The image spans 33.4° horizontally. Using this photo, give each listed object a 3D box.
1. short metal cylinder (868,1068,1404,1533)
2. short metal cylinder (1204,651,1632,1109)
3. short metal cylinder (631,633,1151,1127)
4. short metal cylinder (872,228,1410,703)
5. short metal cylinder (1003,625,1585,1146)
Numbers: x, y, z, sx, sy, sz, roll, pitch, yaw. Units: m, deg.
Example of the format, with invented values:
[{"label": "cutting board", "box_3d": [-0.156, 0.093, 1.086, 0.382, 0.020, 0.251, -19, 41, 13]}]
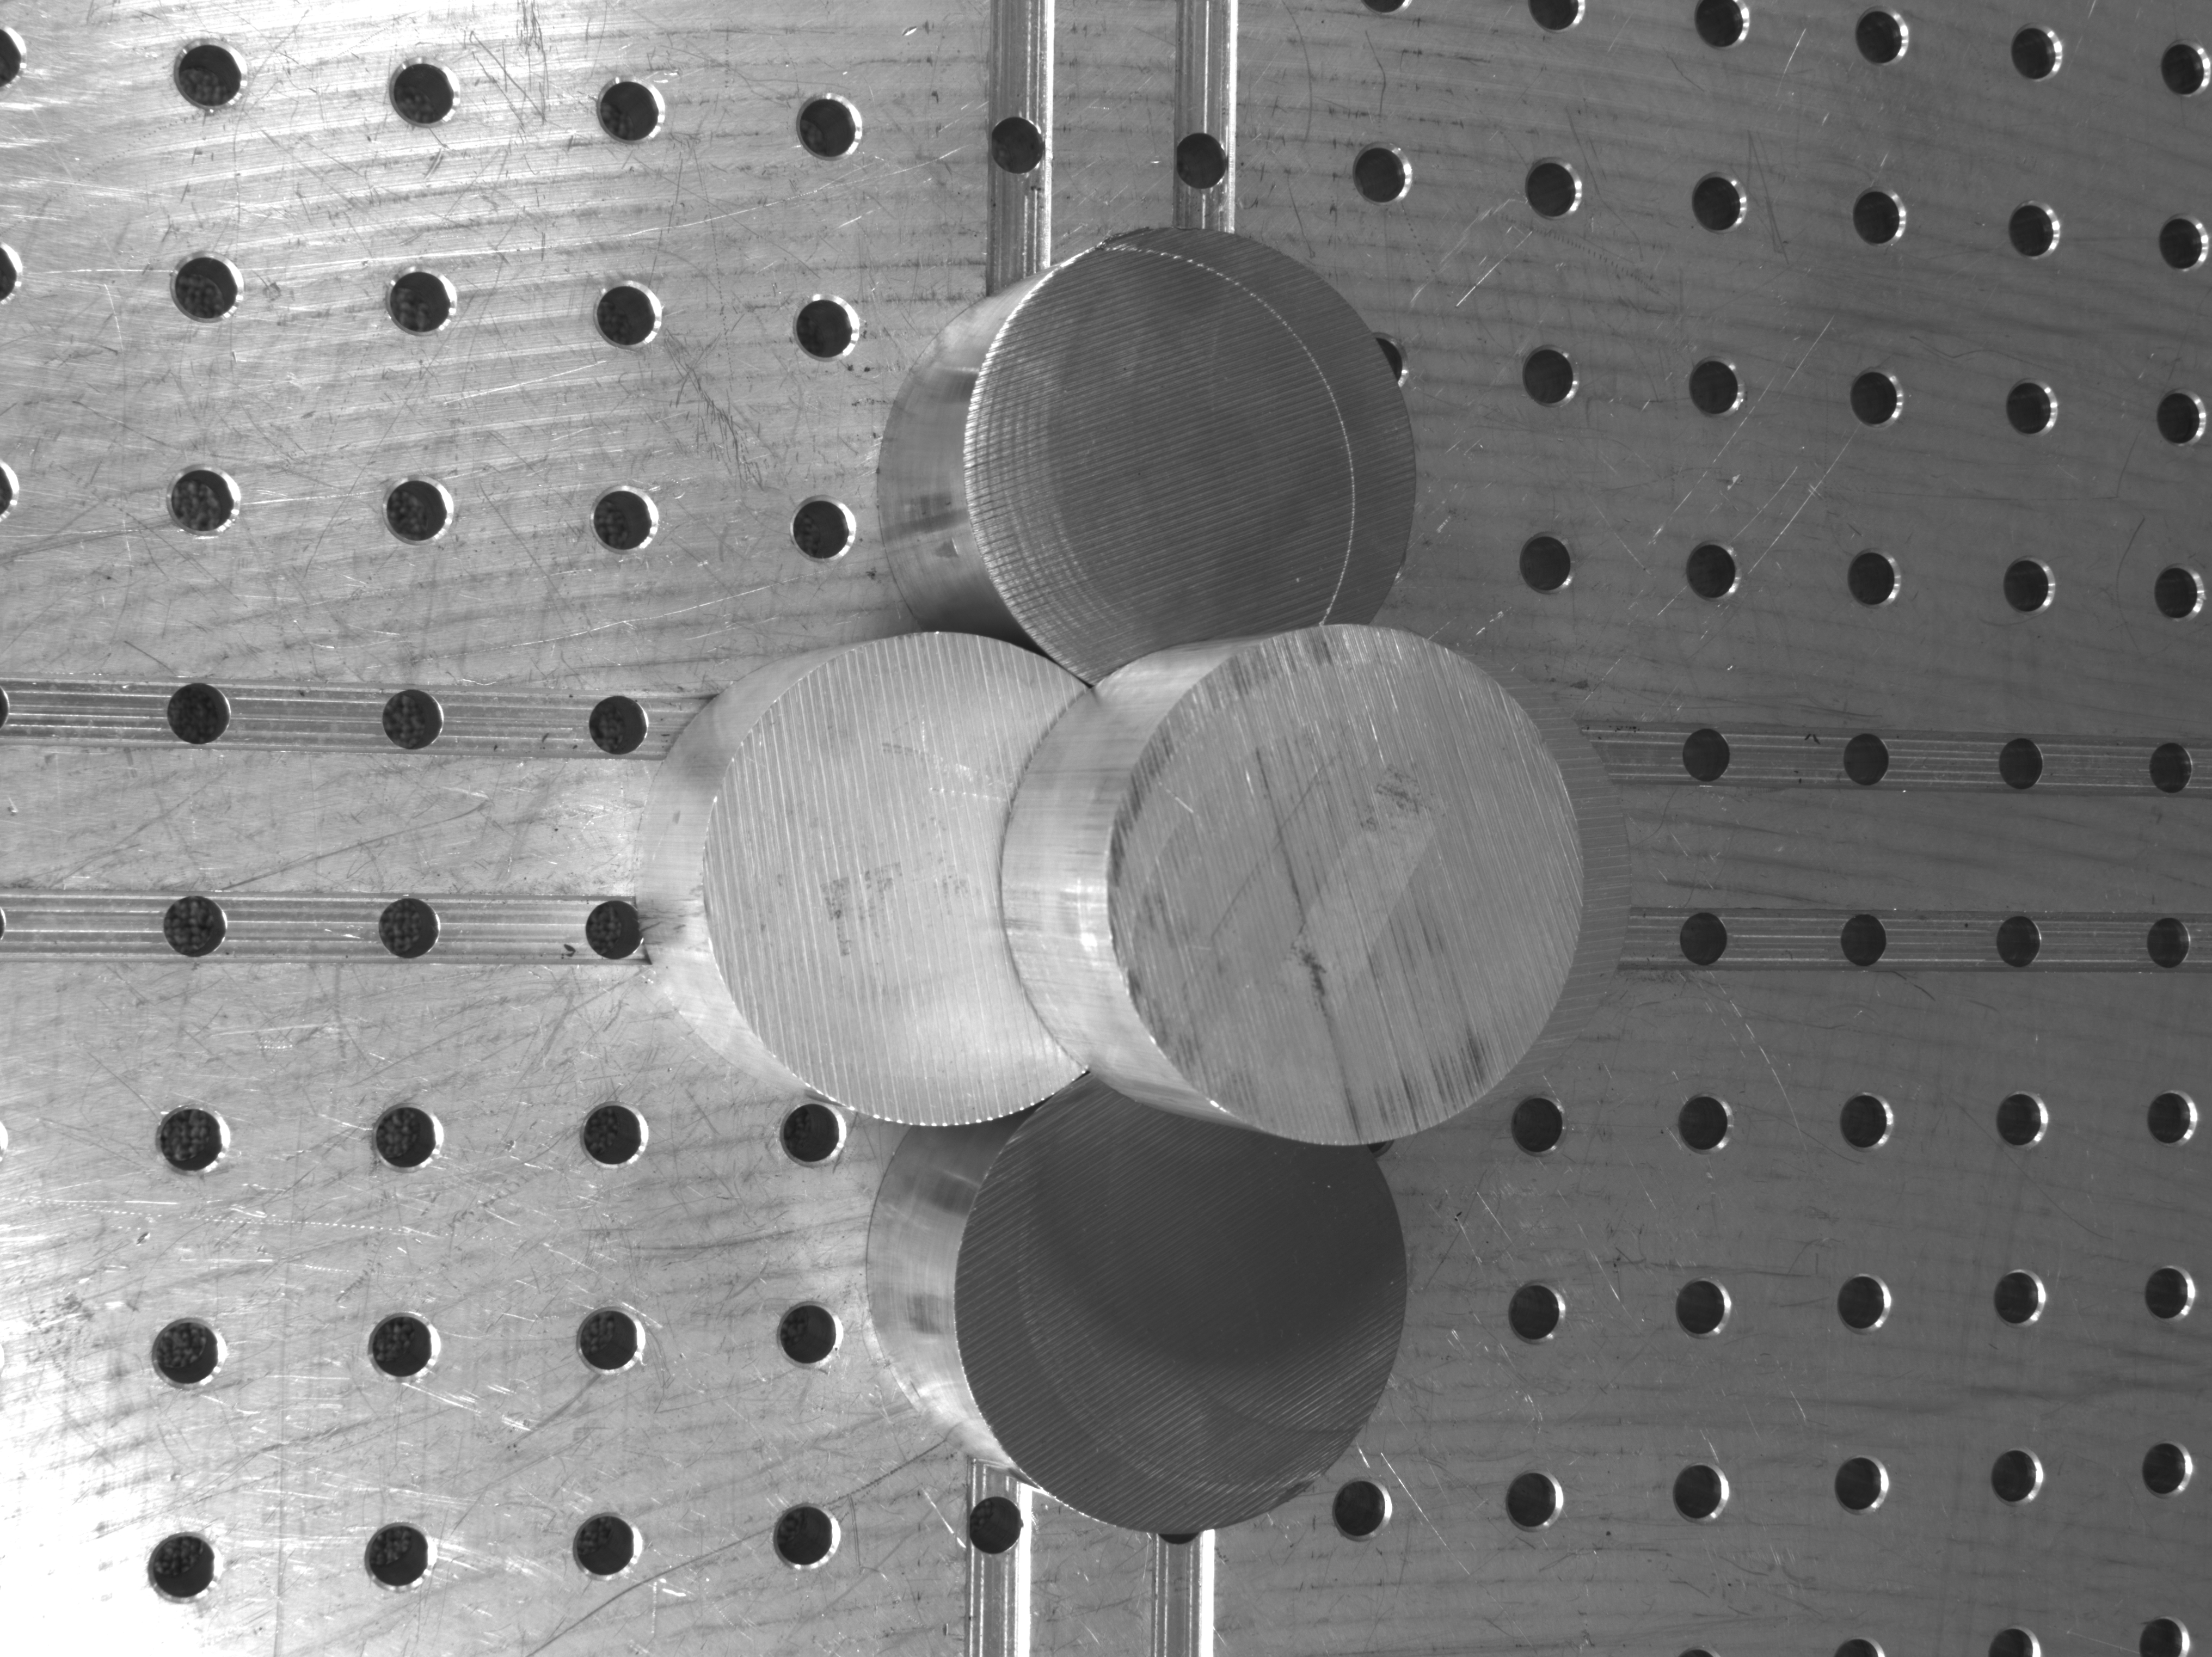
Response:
[{"label": "short metal cylinder", "box_3d": [0.004, 0.077, 0.634, 0.080, 0.050, 0.080, 1, 87, -20]}, {"label": "short metal cylinder", "box_3d": [0.045, 0.009, 0.648, 0.080, 0.050, 0.080, 0, 90, -20]}, {"label": "short metal cylinder", "box_3d": [-0.035, 0.008, 0.620, 0.080, 0.050, 0.080, 0, 90, -20]}, {"label": "short metal cylinder", "box_3d": [0.005, -0.060, 0.634, 0.080, 0.050, 0.080, 0, 90, -21]}, {"label": "short metal cylinder", "box_3d": [0.029, 0.009, 0.589, 0.080, 0.050, 0.080, 0, 90, -20]}]
